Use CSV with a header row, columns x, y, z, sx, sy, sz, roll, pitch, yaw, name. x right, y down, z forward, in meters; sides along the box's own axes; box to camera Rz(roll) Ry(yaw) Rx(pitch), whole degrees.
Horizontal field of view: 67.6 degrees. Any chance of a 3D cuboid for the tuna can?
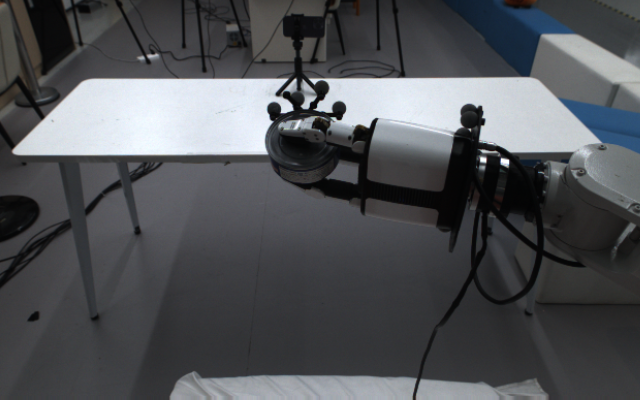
x,y,z,sx,sy,sz,roll,pitch,yaw,name
-0.017,-0.058,0.558,0.085,0.034,0.085,-1,58,2,tuna can
